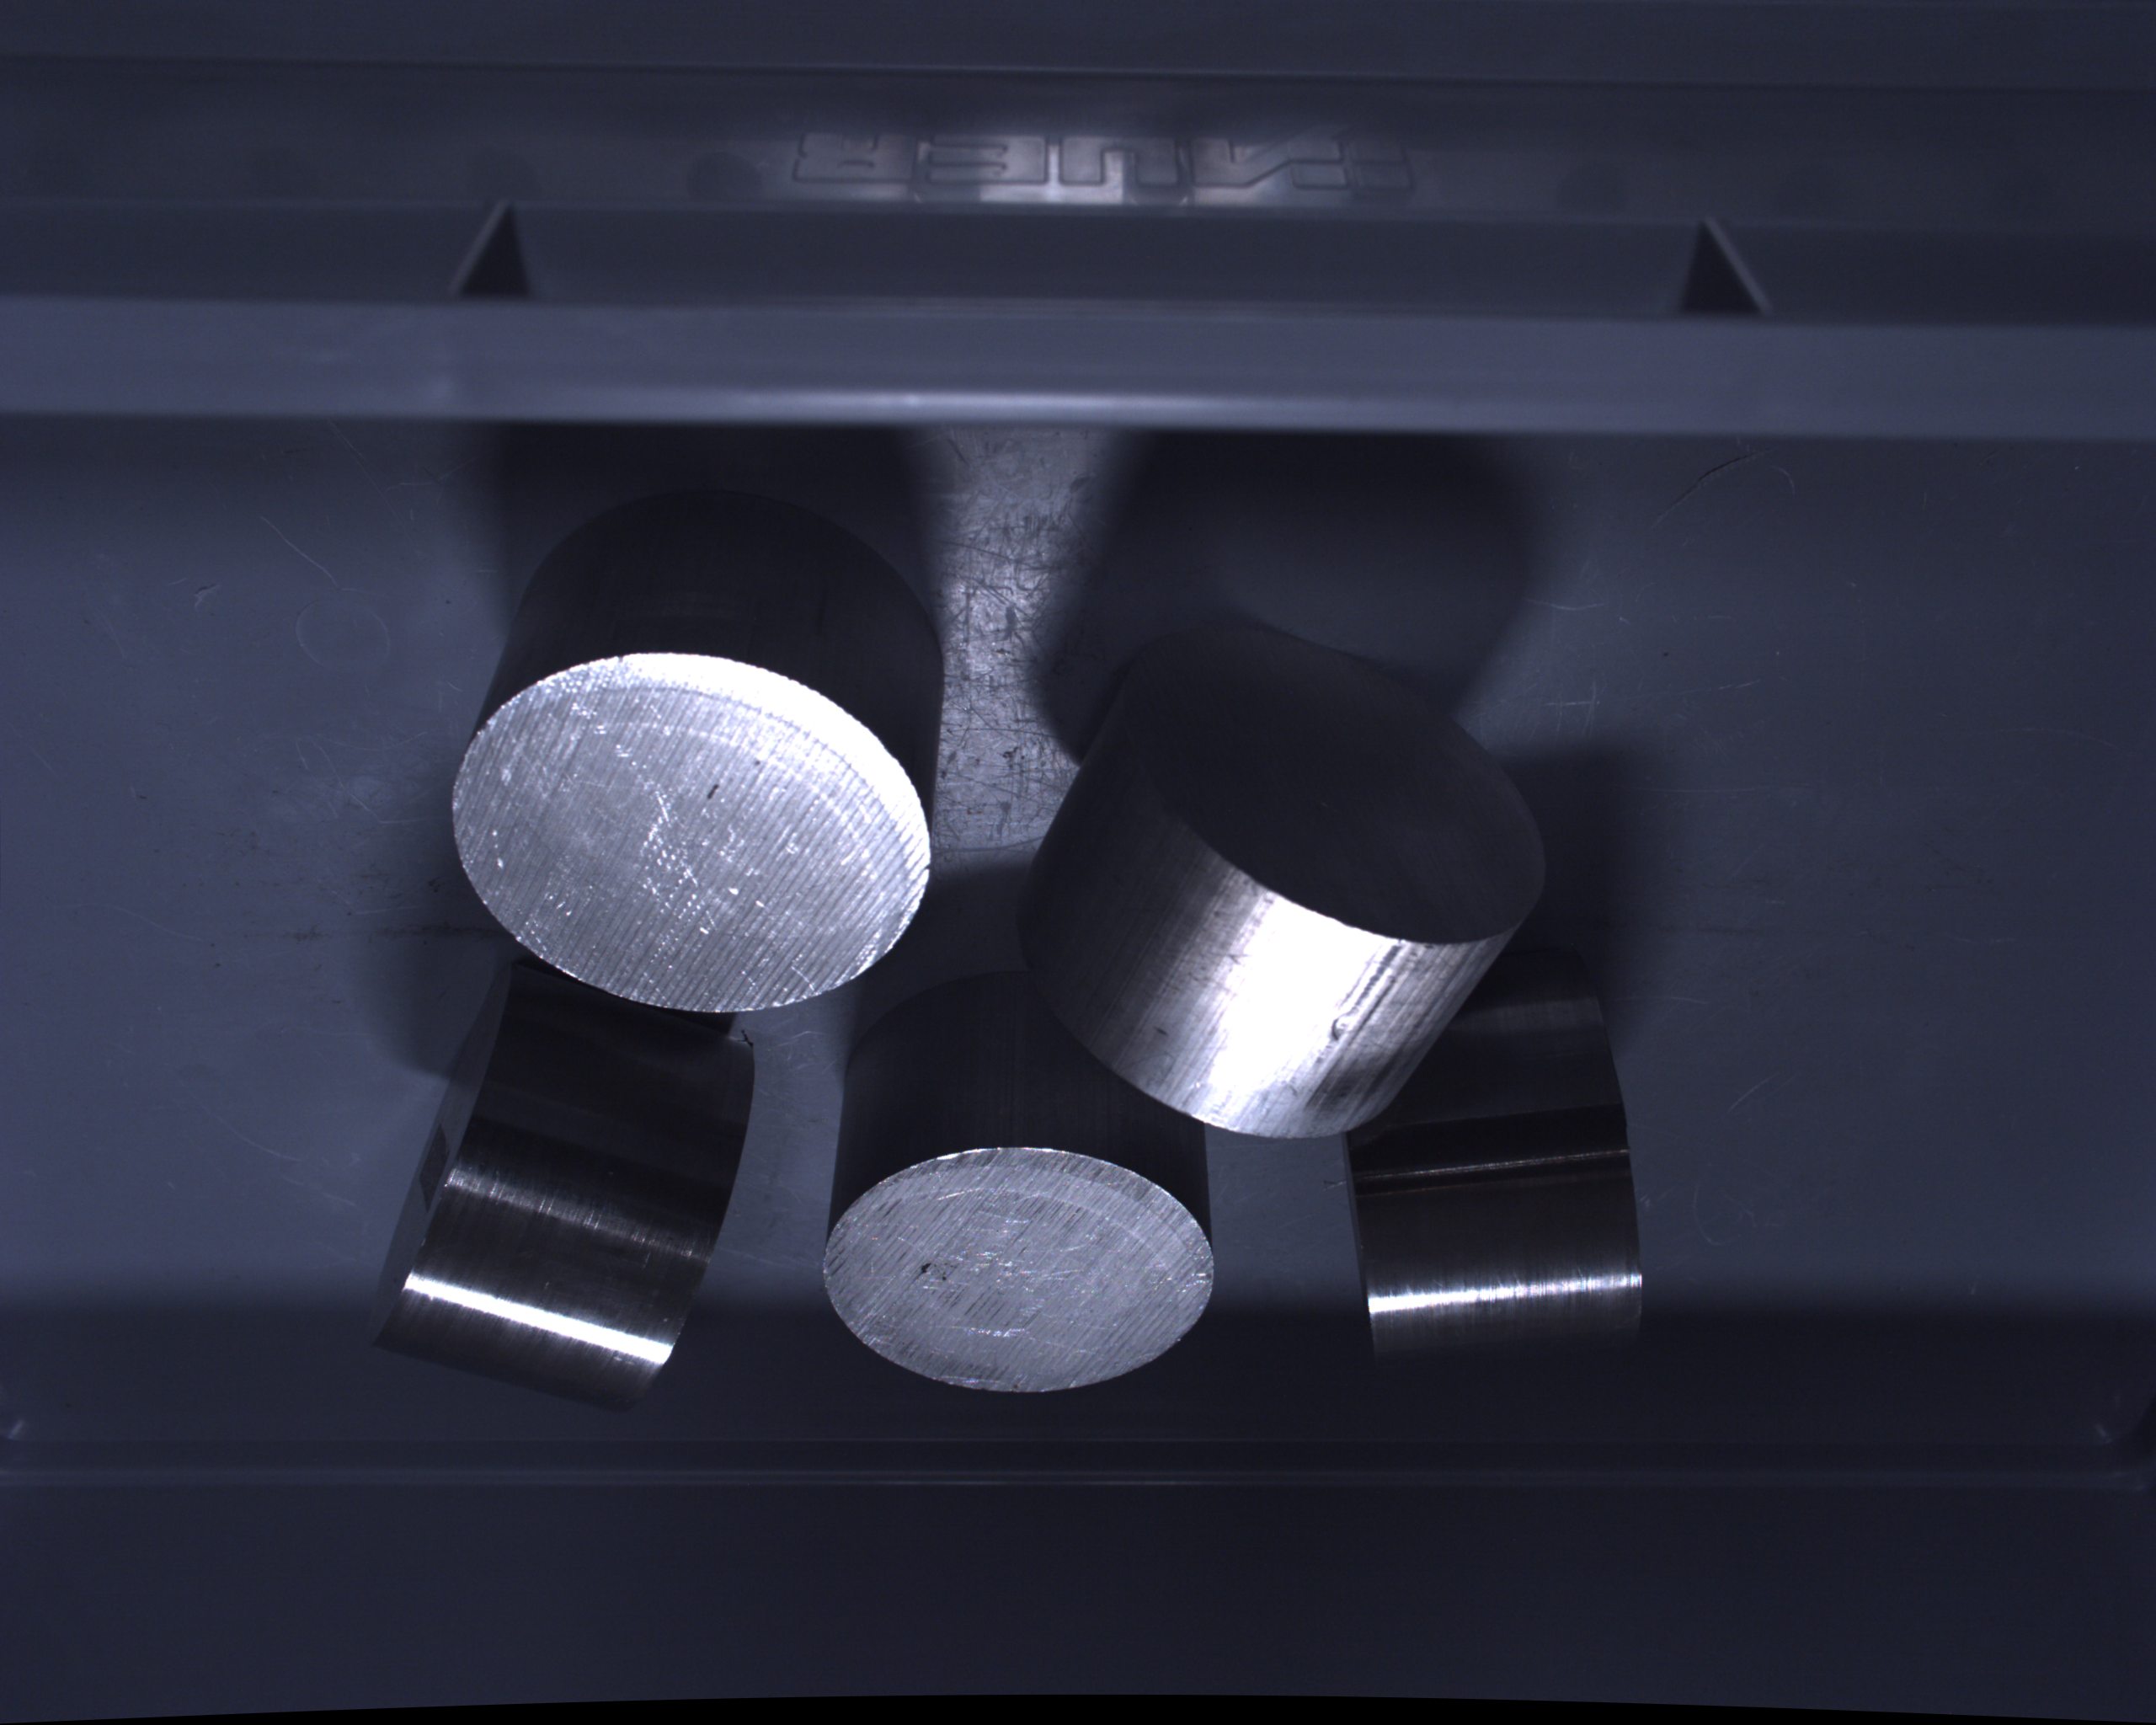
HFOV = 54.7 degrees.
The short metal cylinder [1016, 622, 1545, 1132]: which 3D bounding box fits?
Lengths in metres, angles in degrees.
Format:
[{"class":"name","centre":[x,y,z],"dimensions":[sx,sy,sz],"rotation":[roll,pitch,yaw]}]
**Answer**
[{"class":"short metal cylinder","centre":[0.035,0.001,0.374],"dimensions":[0.081,0.080,0.050],"rotation":[17,128,-14]}]

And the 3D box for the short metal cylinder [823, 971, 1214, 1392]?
[{"class":"short metal cylinder","centre":[-0.012,0.069,0.449],"dimensions":[0.081,0.050,0.079],"rotation":[0,130,0]}]

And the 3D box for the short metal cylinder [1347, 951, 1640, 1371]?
[{"class":"short metal cylinder","centre":[0.080,0.060,0.423],"dimensions":[0.050,0.080,0.080],"rotation":[-7,130,5]}]

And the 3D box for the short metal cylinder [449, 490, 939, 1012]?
[{"class":"short metal cylinder","centre":[-0.066,-0.019,0.373],"dimensions":[0.081,0.050,0.079],"rotation":[0,130,0]}]

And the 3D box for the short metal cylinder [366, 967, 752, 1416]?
[{"class":"short metal cylinder","centre":[-0.106,0.067,0.426],"dimensions":[0.050,0.080,0.080],"rotation":[21,127,-18]}]
